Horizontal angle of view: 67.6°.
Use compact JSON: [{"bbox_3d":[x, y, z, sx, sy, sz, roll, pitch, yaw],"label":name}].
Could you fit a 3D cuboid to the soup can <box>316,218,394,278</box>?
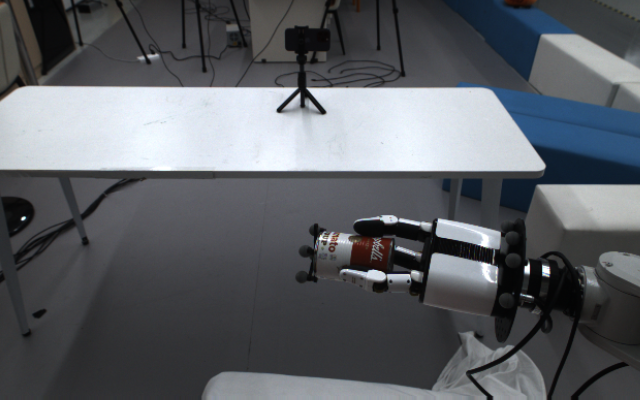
[{"bbox_3d":[0.051,0.080,0.662,0.101,0.067,0.067,5,34,13],"label":"soup can"}]
